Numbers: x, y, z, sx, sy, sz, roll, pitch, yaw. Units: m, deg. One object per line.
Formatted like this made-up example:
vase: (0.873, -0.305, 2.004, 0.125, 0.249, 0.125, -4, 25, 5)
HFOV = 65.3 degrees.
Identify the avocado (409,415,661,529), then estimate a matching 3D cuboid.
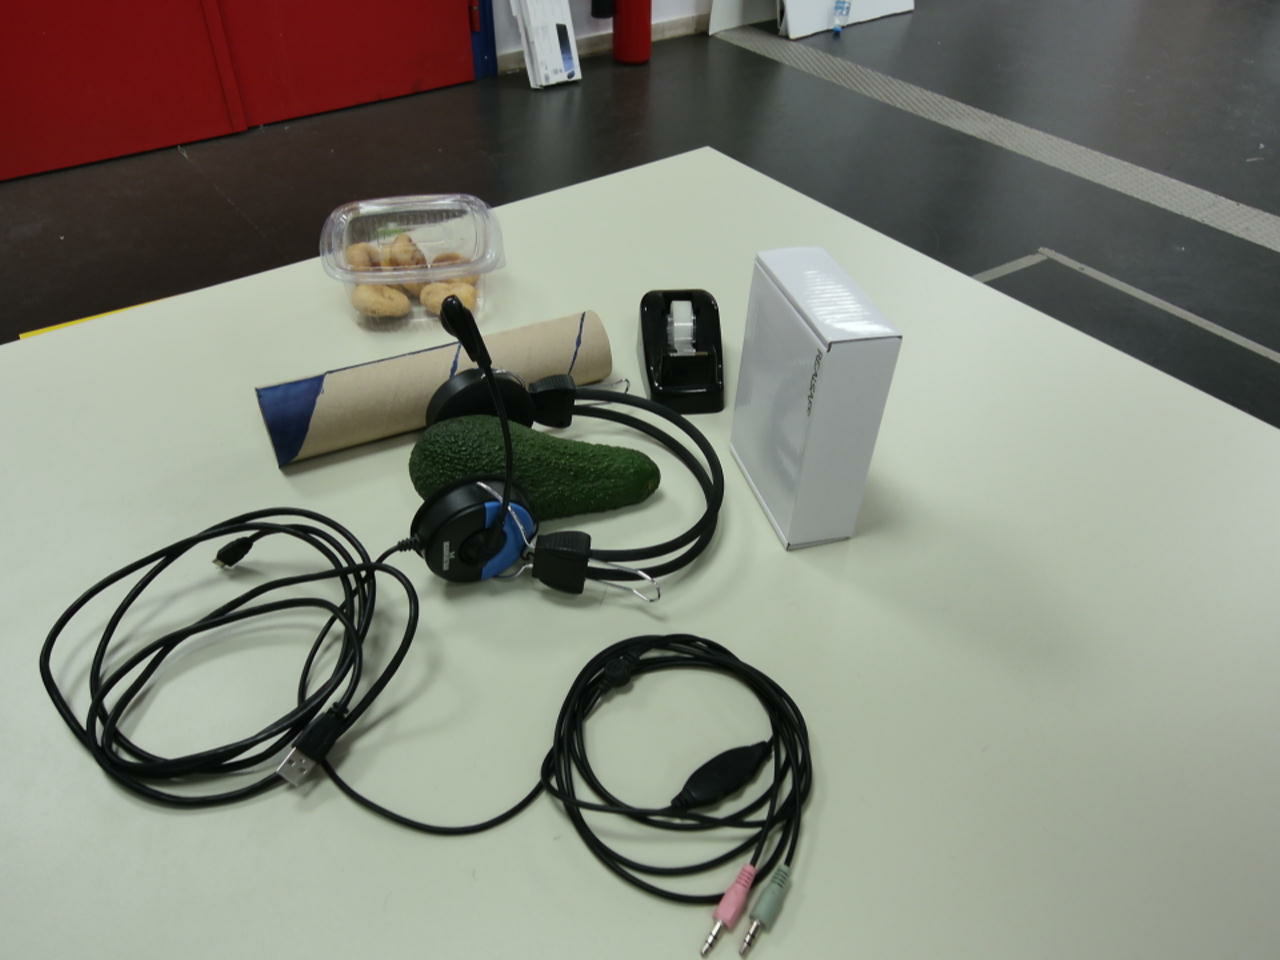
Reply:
avocado: (-0.057, -0.012, 0.564, 0.141, 0.067, 0.063, -13, 41, -18)
